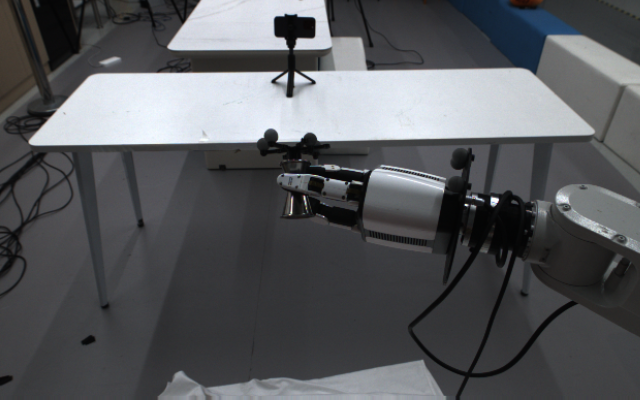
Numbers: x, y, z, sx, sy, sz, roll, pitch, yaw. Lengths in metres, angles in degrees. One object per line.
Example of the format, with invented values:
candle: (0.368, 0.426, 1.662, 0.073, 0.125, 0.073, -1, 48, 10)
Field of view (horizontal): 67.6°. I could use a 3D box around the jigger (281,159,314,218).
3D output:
jigger: (-0.029, -0.013, 0.593, 0.043, 0.071, 0.043, -2, -7, 0)
